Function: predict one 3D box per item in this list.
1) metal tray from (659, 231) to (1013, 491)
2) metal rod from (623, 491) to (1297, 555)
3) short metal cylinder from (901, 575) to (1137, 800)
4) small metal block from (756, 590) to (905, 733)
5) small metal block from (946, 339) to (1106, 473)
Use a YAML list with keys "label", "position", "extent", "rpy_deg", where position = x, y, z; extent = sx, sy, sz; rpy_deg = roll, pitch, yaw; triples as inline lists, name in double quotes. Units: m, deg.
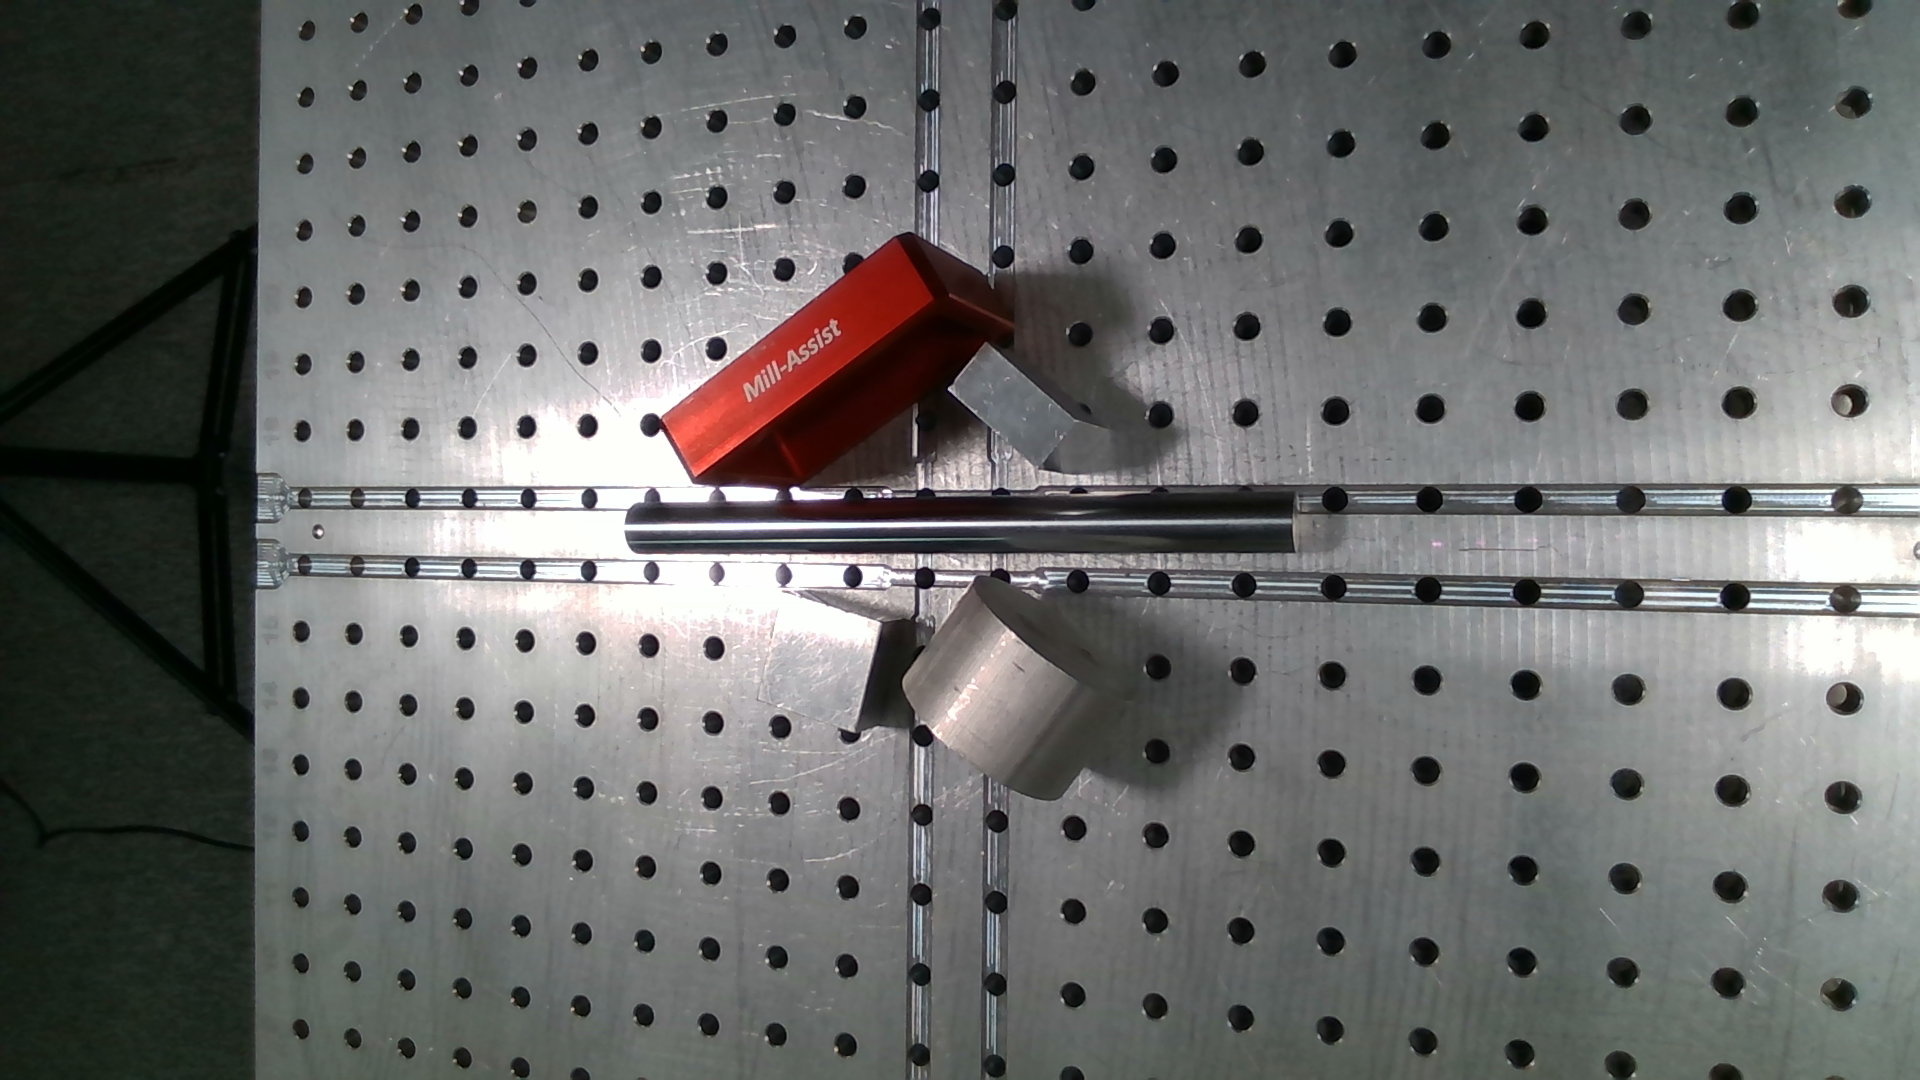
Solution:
- label: "metal tray"
  position: [-0.050, -0.069, 0.570]
  extent: [0.130, 0.090, 0.030]
  rpy_deg: [-34, 79, 17]
- label: "metal rod"
  position: [-0.010, -0.006, 0.591]
  extent: [0.300, 0.025, 0.025]
  rpy_deg: [0, 90, 20]
- label: "short metal cylinder"
  position: [0.023, 0.058, 0.550]
  extent: [0.080, 0.080, 0.050]
  rpy_deg: [39, 103, 16]
- label: "small metal block"
  position: [-0.057, 0.052, 0.611]
  extent: [0.050, 0.025, 0.050]
  rpy_deg: [16, 96, 19]
- label: "small metal block"
  position: [0.029, -0.054, 0.563]
  extent: [0.050, 0.050, 0.025]
  rpy_deg: [43, 104, 15]
